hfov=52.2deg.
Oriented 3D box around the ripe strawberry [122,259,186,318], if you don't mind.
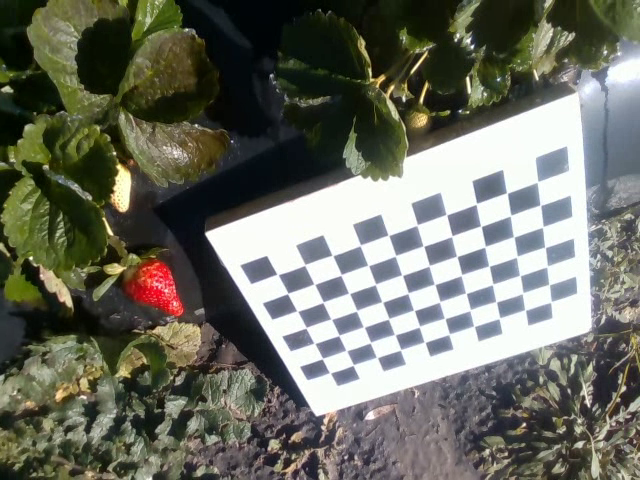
[{"bbox_3d":[-0.135,0.042,0.526,0.048,0.068,0.040,-33,31,19],"label":"ripe strawberry"}]
